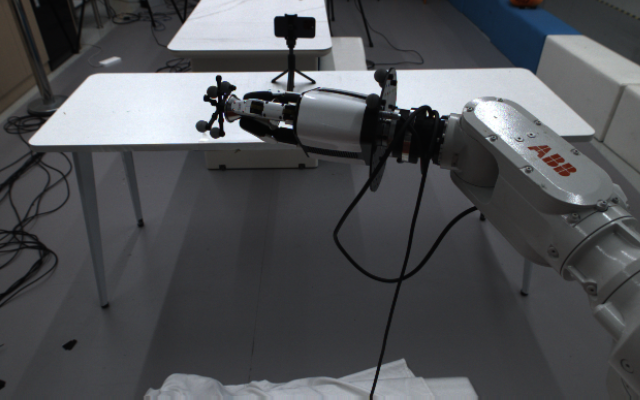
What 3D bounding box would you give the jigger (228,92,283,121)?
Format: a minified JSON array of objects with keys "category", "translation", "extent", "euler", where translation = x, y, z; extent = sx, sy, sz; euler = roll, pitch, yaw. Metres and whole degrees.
[{"category":"jigger","translation":[-0.092,-0.128,0.672],"extent":[0.071,0.043,0.043],"euler":[10,35,16]}]
